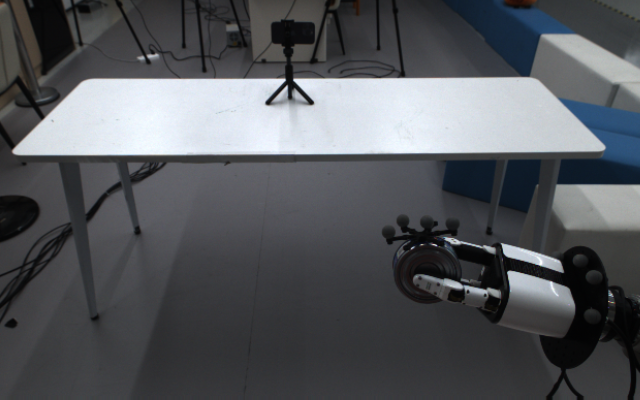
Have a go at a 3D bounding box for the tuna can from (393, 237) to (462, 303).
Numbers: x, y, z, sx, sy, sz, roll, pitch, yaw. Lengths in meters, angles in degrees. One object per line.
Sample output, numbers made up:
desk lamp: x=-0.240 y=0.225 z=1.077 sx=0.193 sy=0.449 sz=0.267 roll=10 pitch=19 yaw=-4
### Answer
tuna can: x=0.140 y=0.088 z=0.625 sx=0.085 sy=0.085 sz=0.034 roll=6 pitch=18 yaw=5
